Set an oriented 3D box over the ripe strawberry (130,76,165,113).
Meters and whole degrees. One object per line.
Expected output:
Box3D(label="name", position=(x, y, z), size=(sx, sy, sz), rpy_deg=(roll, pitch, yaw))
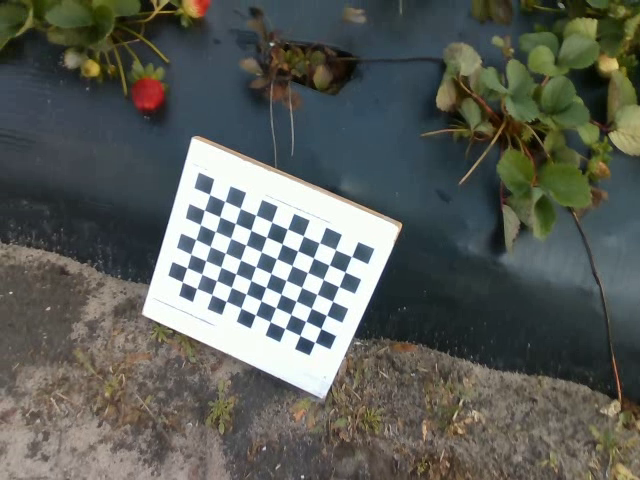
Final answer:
Box3D(label="ripe strawberry", position=(-0.210, -0.179, 0.843), size=(0.045, 0.055, 0.042), rpy_deg=(-24, -53, 21))
